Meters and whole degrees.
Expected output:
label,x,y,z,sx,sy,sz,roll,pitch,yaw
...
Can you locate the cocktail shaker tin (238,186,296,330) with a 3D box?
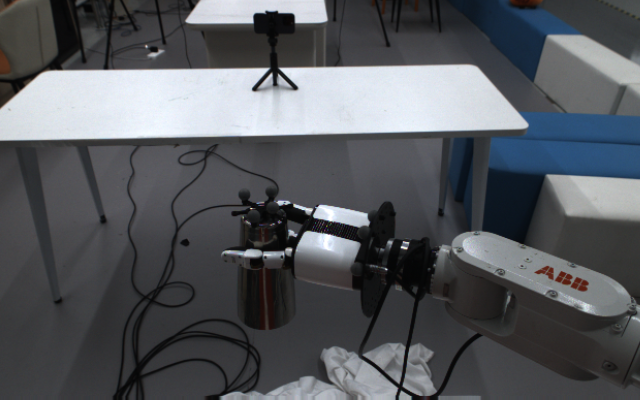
label,x,y,z,sx,sy,sz,roll,pitch,yaw
cocktail shaker tin,-0.079,0.095,0.724,0.093,0.170,0.093,1,27,-1
